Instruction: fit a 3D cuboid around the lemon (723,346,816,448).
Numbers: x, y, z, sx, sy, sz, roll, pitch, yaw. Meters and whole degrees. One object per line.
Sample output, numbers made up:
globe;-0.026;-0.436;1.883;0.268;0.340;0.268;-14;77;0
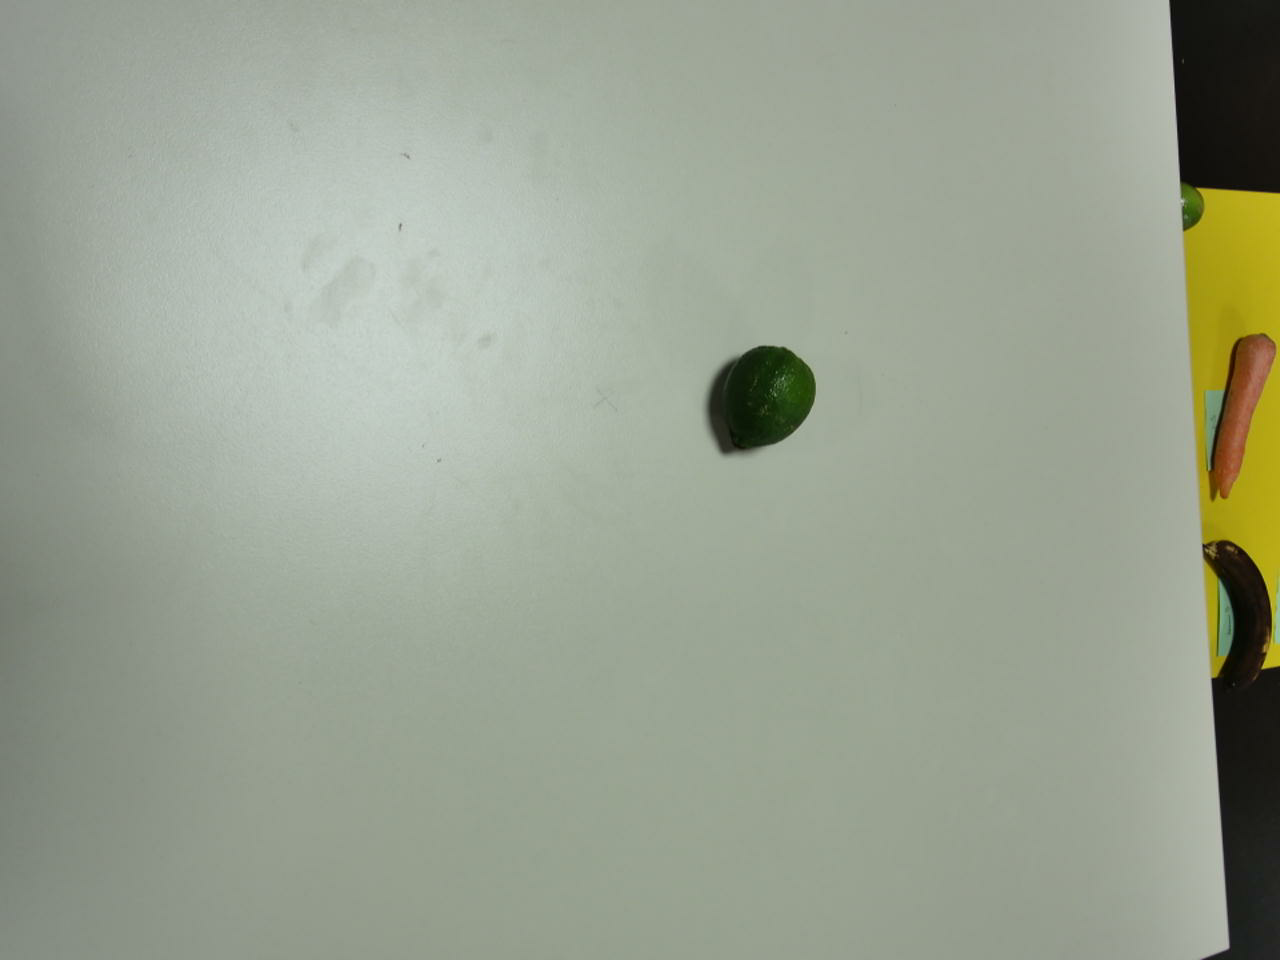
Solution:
lemon;0.075;-0.049;0.578;0.054;0.051;0.057;-10;95;-22
